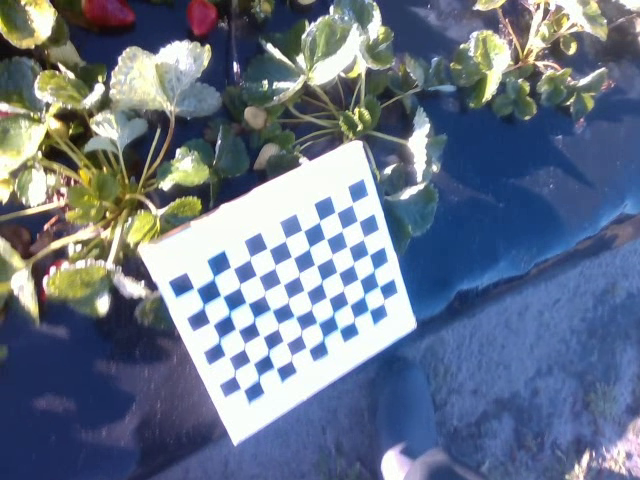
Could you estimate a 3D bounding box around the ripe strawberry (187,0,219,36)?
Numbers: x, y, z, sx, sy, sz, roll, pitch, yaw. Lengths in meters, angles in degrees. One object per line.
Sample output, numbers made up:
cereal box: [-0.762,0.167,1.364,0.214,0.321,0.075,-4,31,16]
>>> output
ripe strawberry: [-0.127,-0.235,0.718,0.039,0.047,0.040,13,-9,-29]

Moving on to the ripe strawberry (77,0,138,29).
ripe strawberry: [-0.216,-0.236,0.686,0.056,0.044,0.040,25,-4,-29]
